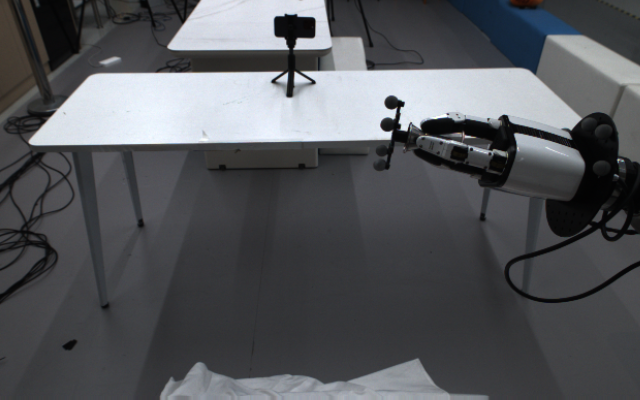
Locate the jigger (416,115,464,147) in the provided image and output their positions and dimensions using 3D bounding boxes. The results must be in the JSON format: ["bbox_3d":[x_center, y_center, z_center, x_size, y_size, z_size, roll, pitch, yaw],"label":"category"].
[{"bbox_3d":[0.147,-0.078,0.620,0.071,0.043,0.043,11,35,4],"label":"jigger"}]
